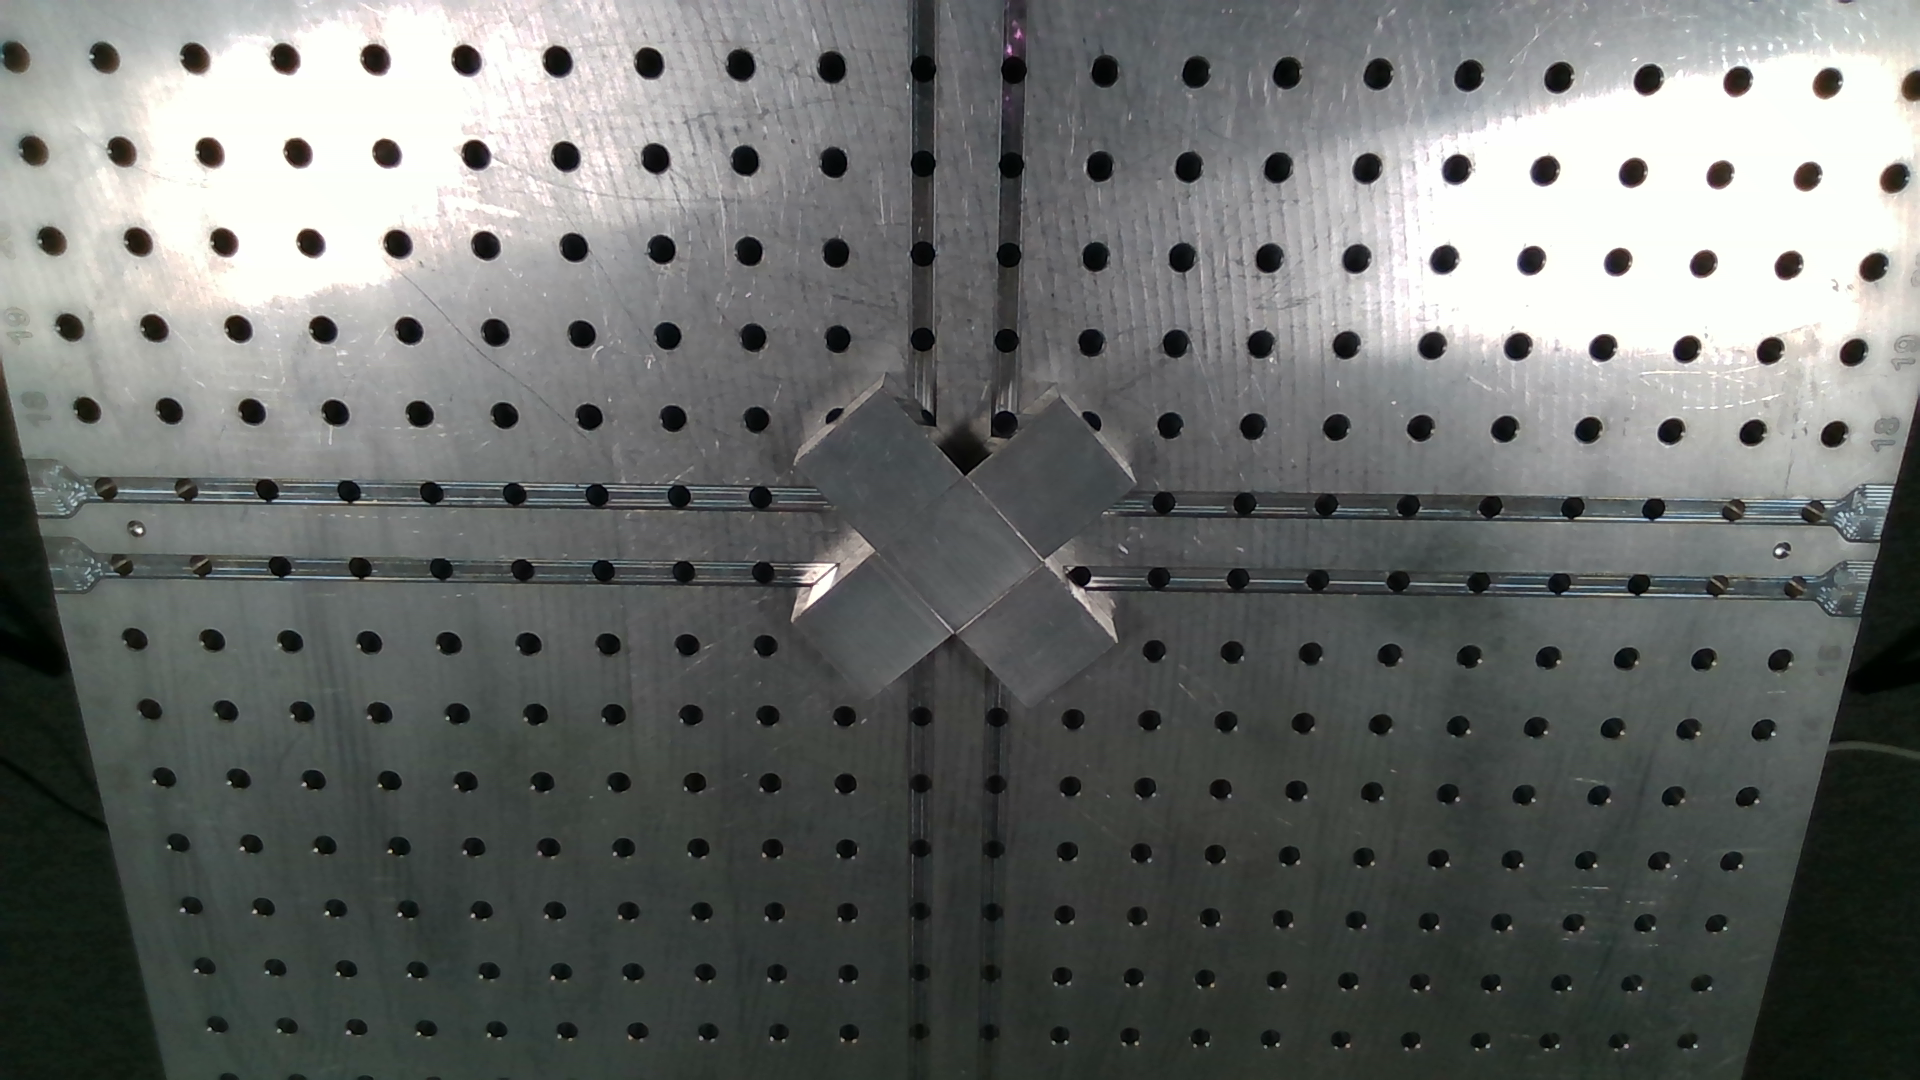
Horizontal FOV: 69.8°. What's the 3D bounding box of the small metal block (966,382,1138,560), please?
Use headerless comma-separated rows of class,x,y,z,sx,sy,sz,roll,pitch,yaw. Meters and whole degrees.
small metal block,0.038,-0.029,0.576,0.050,0.025,0.050,-39,106,13

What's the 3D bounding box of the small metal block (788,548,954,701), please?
small metal block,-0.038,0.033,0.599,0.050,0.025,0.050,-39,106,13

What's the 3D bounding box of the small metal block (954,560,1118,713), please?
small metal block,0.033,0.038,0.601,0.050,0.025,0.050,-39,105,13

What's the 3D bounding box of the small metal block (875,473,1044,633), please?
small metal block,0.000,0.002,0.587,0.050,0.025,0.050,-39,105,13

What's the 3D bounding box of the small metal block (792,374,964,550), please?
small metal block,-0.033,-0.033,0.575,0.050,0.025,0.050,-39,105,13
